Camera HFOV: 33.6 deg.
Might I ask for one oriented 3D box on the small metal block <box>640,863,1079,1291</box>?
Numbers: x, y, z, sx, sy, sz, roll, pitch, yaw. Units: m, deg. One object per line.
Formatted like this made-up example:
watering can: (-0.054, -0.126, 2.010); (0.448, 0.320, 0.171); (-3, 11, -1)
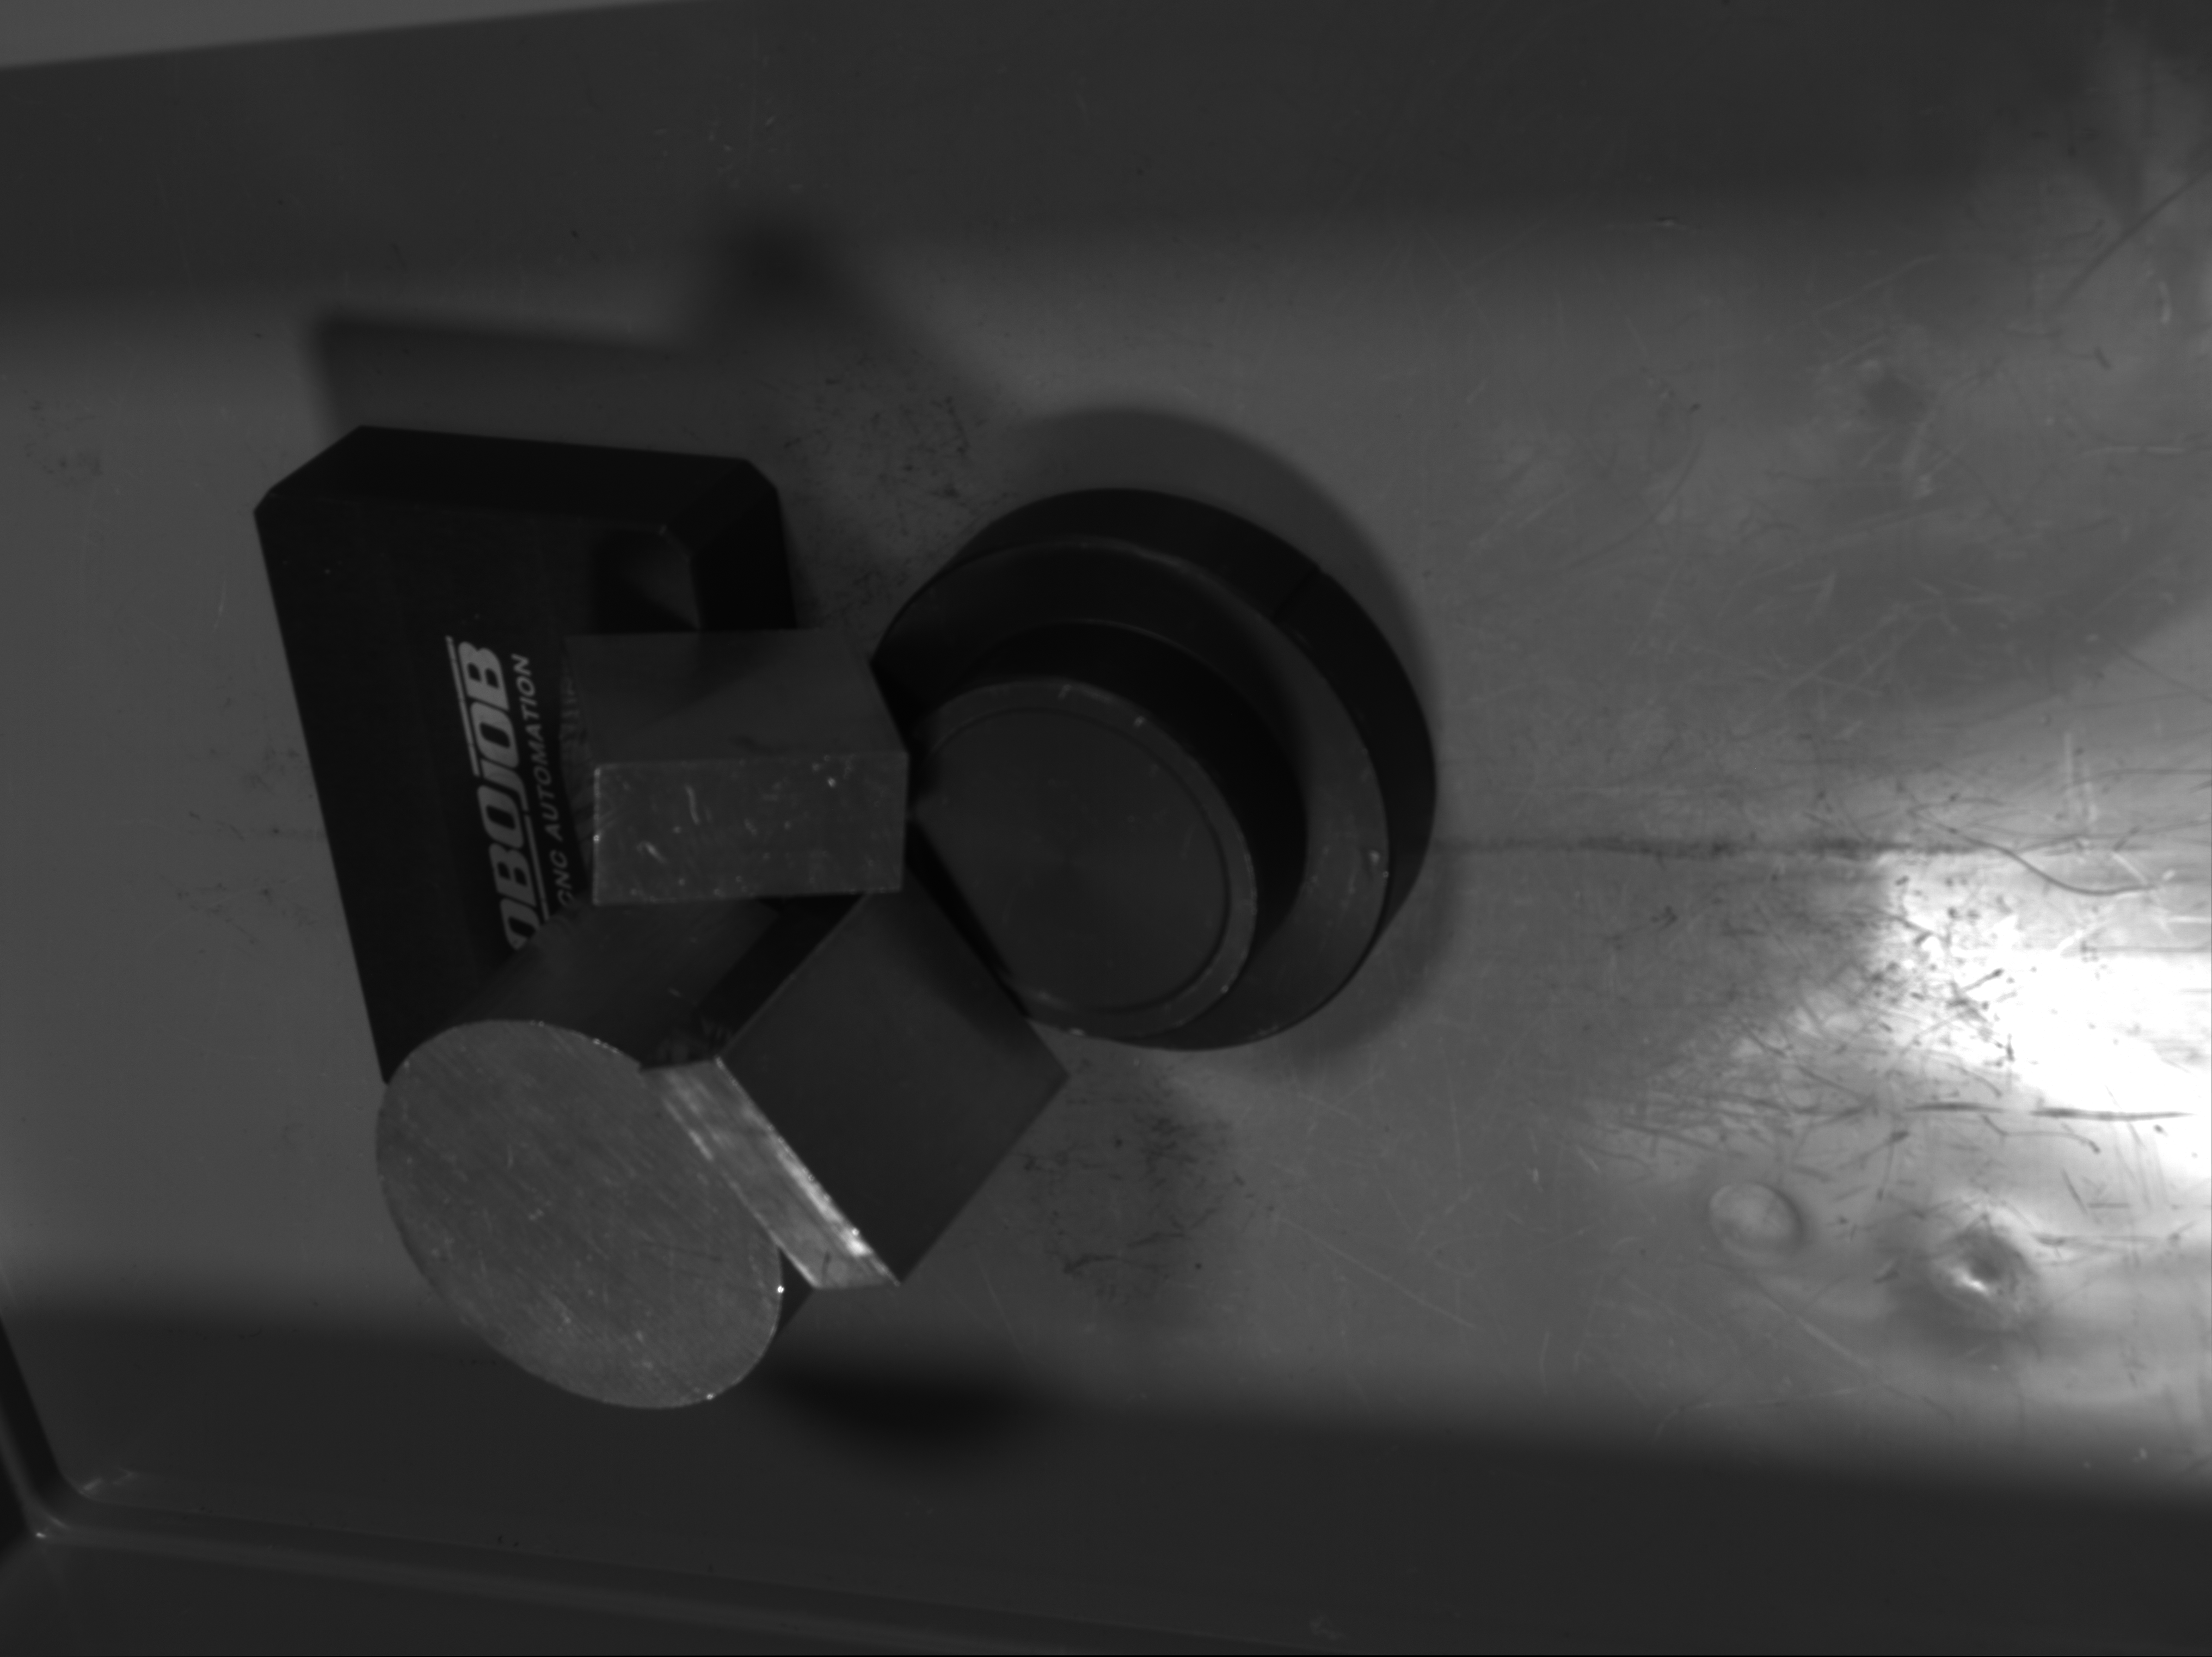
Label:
small metal block: (-0.040, 0.041, 0.609); (0.025, 0.050, 0.050); (-12, 120, 52)

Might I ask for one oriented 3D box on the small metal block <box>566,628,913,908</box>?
small metal block: (-0.062, -0.011, 0.606); (0.050, 0.050, 0.025); (-3, 118, -14)

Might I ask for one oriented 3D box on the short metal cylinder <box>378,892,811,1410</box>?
short metal cylinder: (-0.081, 0.055, 0.650); (0.080, 0.050, 0.080); (12, 123, 20)

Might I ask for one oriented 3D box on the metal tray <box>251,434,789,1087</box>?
metal tray: (-0.099, -0.004, 0.671); (0.090, 0.030, 0.130); (7, 121, 23)

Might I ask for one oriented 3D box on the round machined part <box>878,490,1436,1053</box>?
round machined part: (0.002, -0.004, 0.615); (0.098, 0.042, 0.098); (12, 123, 20)
